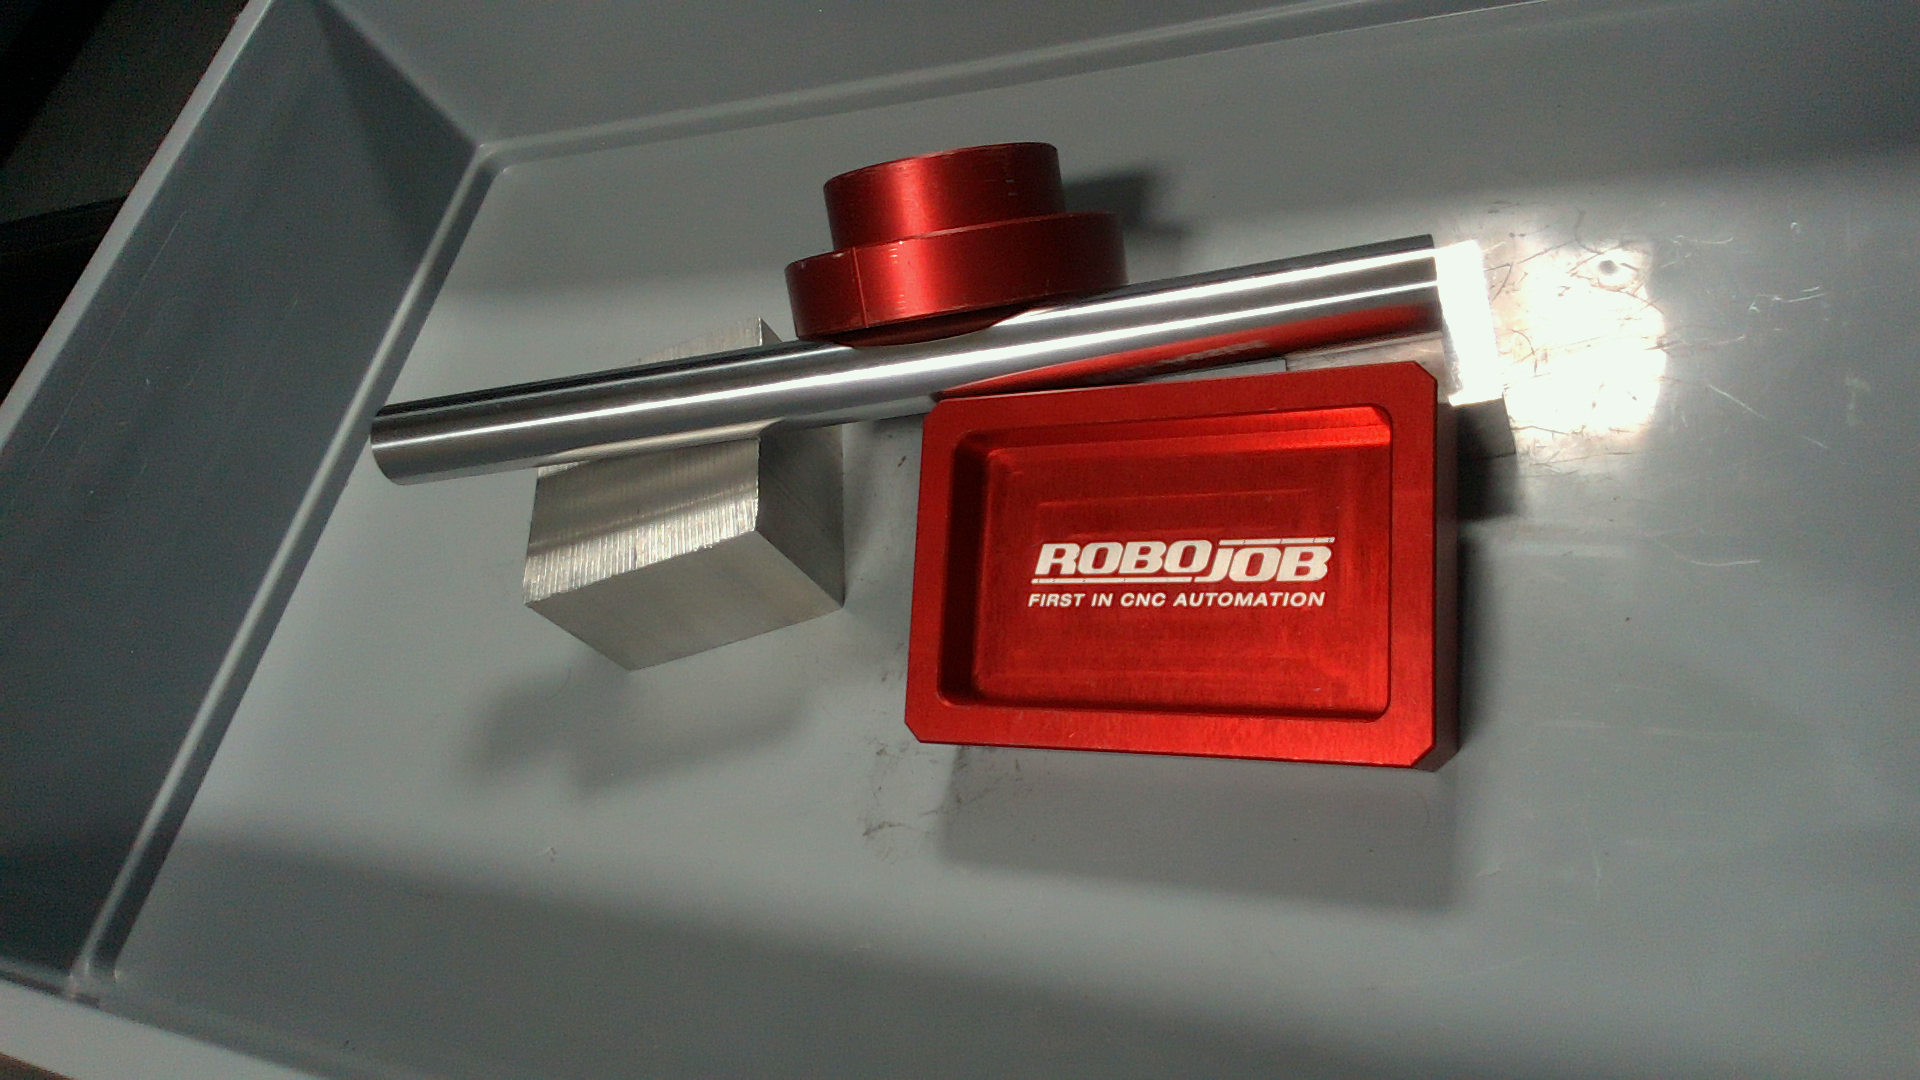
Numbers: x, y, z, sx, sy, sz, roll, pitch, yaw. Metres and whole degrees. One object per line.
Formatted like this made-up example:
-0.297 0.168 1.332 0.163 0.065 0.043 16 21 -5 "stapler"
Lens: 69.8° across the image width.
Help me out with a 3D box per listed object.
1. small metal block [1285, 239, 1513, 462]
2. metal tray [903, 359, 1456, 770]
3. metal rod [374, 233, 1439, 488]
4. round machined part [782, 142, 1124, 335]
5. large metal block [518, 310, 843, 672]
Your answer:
0.113 -0.045 0.359 0.050 0.025 0.050 -11 57 23 "small metal block"
0.052 0.008 0.338 0.130 0.030 0.090 -2 80 27 "metal tray"
-0.027 -0.045 0.377 0.299 0.025 0.025 -7 58 16 "metal rod"
-0.003 -0.087 0.398 0.098 0.098 0.042 -5 100 26 "round machined part"
-0.084 -0.014 0.429 0.080 0.050 0.080 -17 55 19 "large metal block"
